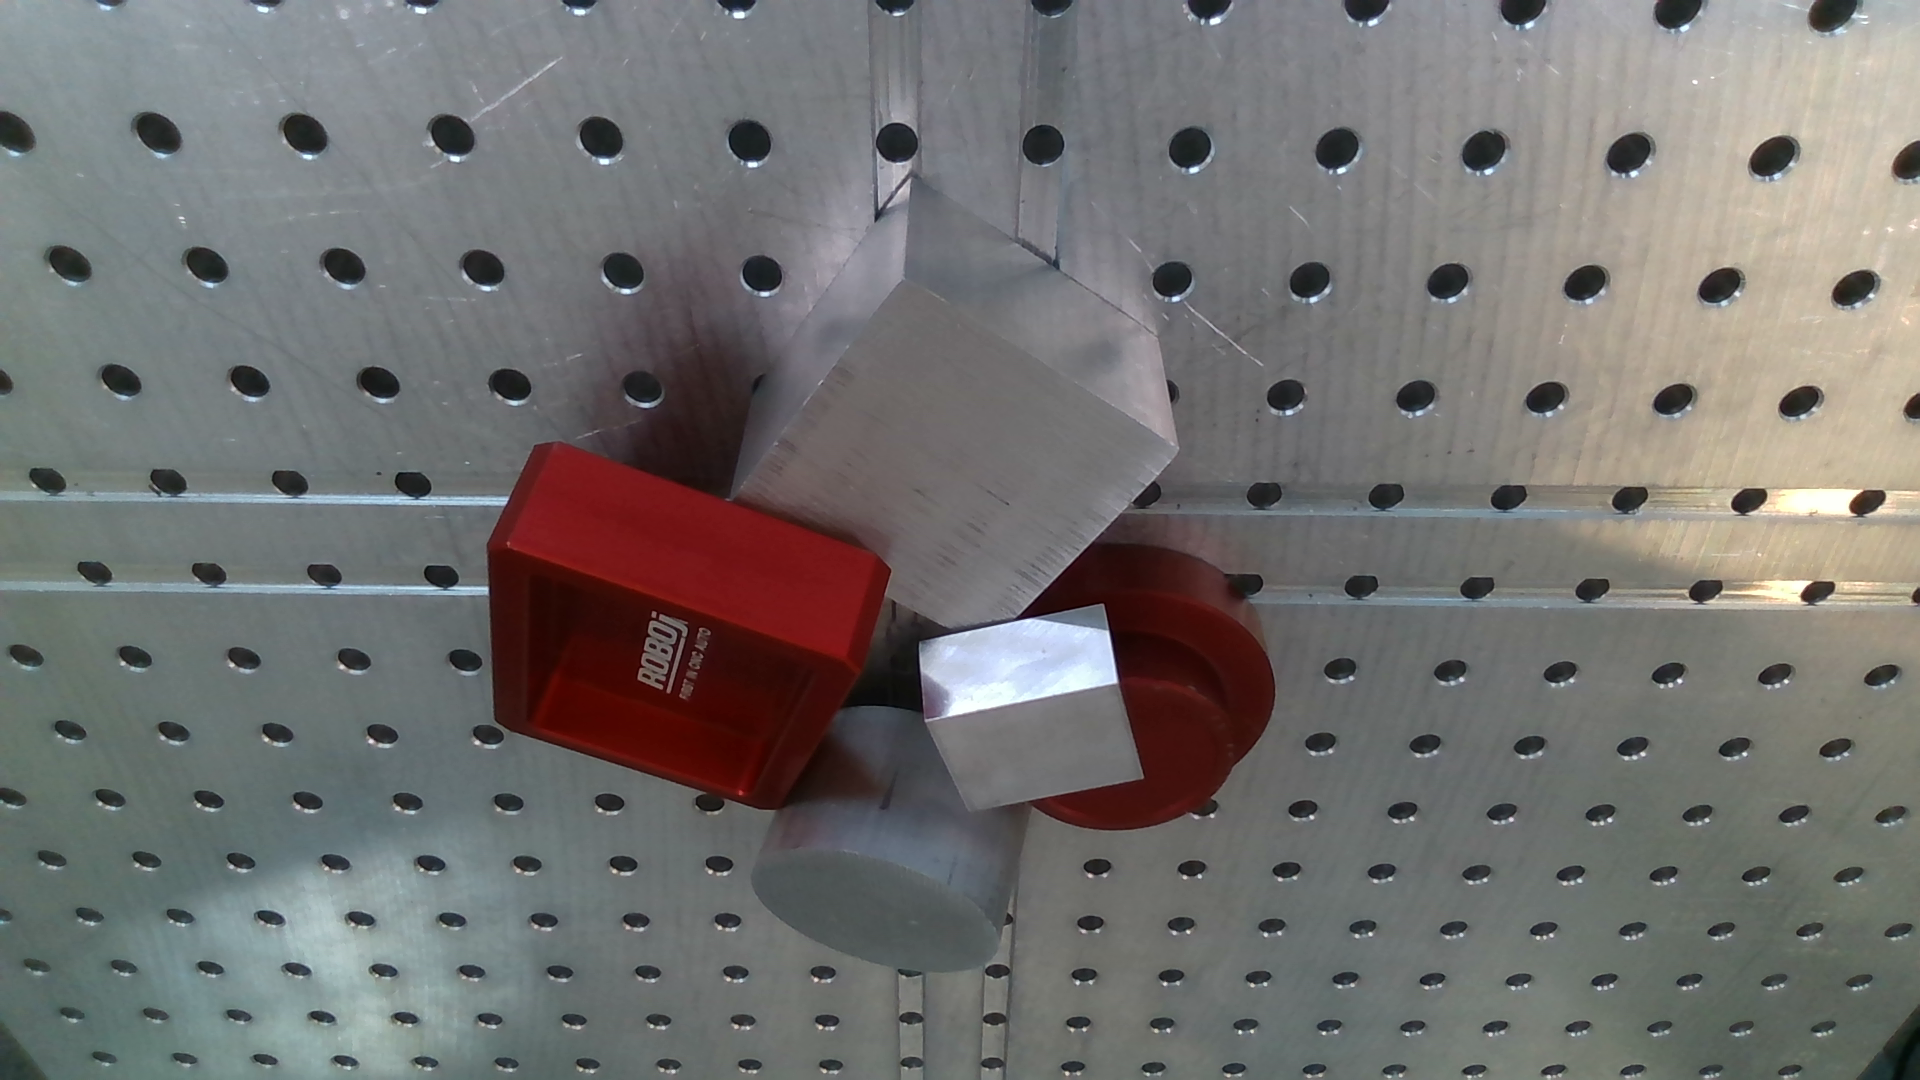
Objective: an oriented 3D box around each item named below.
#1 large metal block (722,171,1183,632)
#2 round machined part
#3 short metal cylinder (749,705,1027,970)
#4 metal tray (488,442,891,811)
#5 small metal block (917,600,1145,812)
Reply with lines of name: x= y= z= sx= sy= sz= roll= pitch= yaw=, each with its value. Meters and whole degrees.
large metal block: x=-0.003 y=-0.030 z=0.350 sx=0.080 sy=0.050 sz=0.080 roll=29 pitch=124 yaw=-22
round machined part: x=0.047 y=0.052 z=0.424 sx=0.098 sy=0.042 sz=0.098 roll=0 pitch=130 yaw=0
short metal cylinder: x=-0.021 y=0.097 z=0.443 sx=0.080 sy=0.050 sz=0.080 roll=11 pitch=142 yaw=9
metal tray: x=-0.079 y=0.031 z=0.377 sx=0.090 sy=0.030 sz=0.130 roll=20 pitch=150 yaw=-7
small metal block: x=0.020 y=0.046 z=0.370 sx=0.050 sy=0.025 sz=0.050 roll=-13 pitch=140 yaw=7
